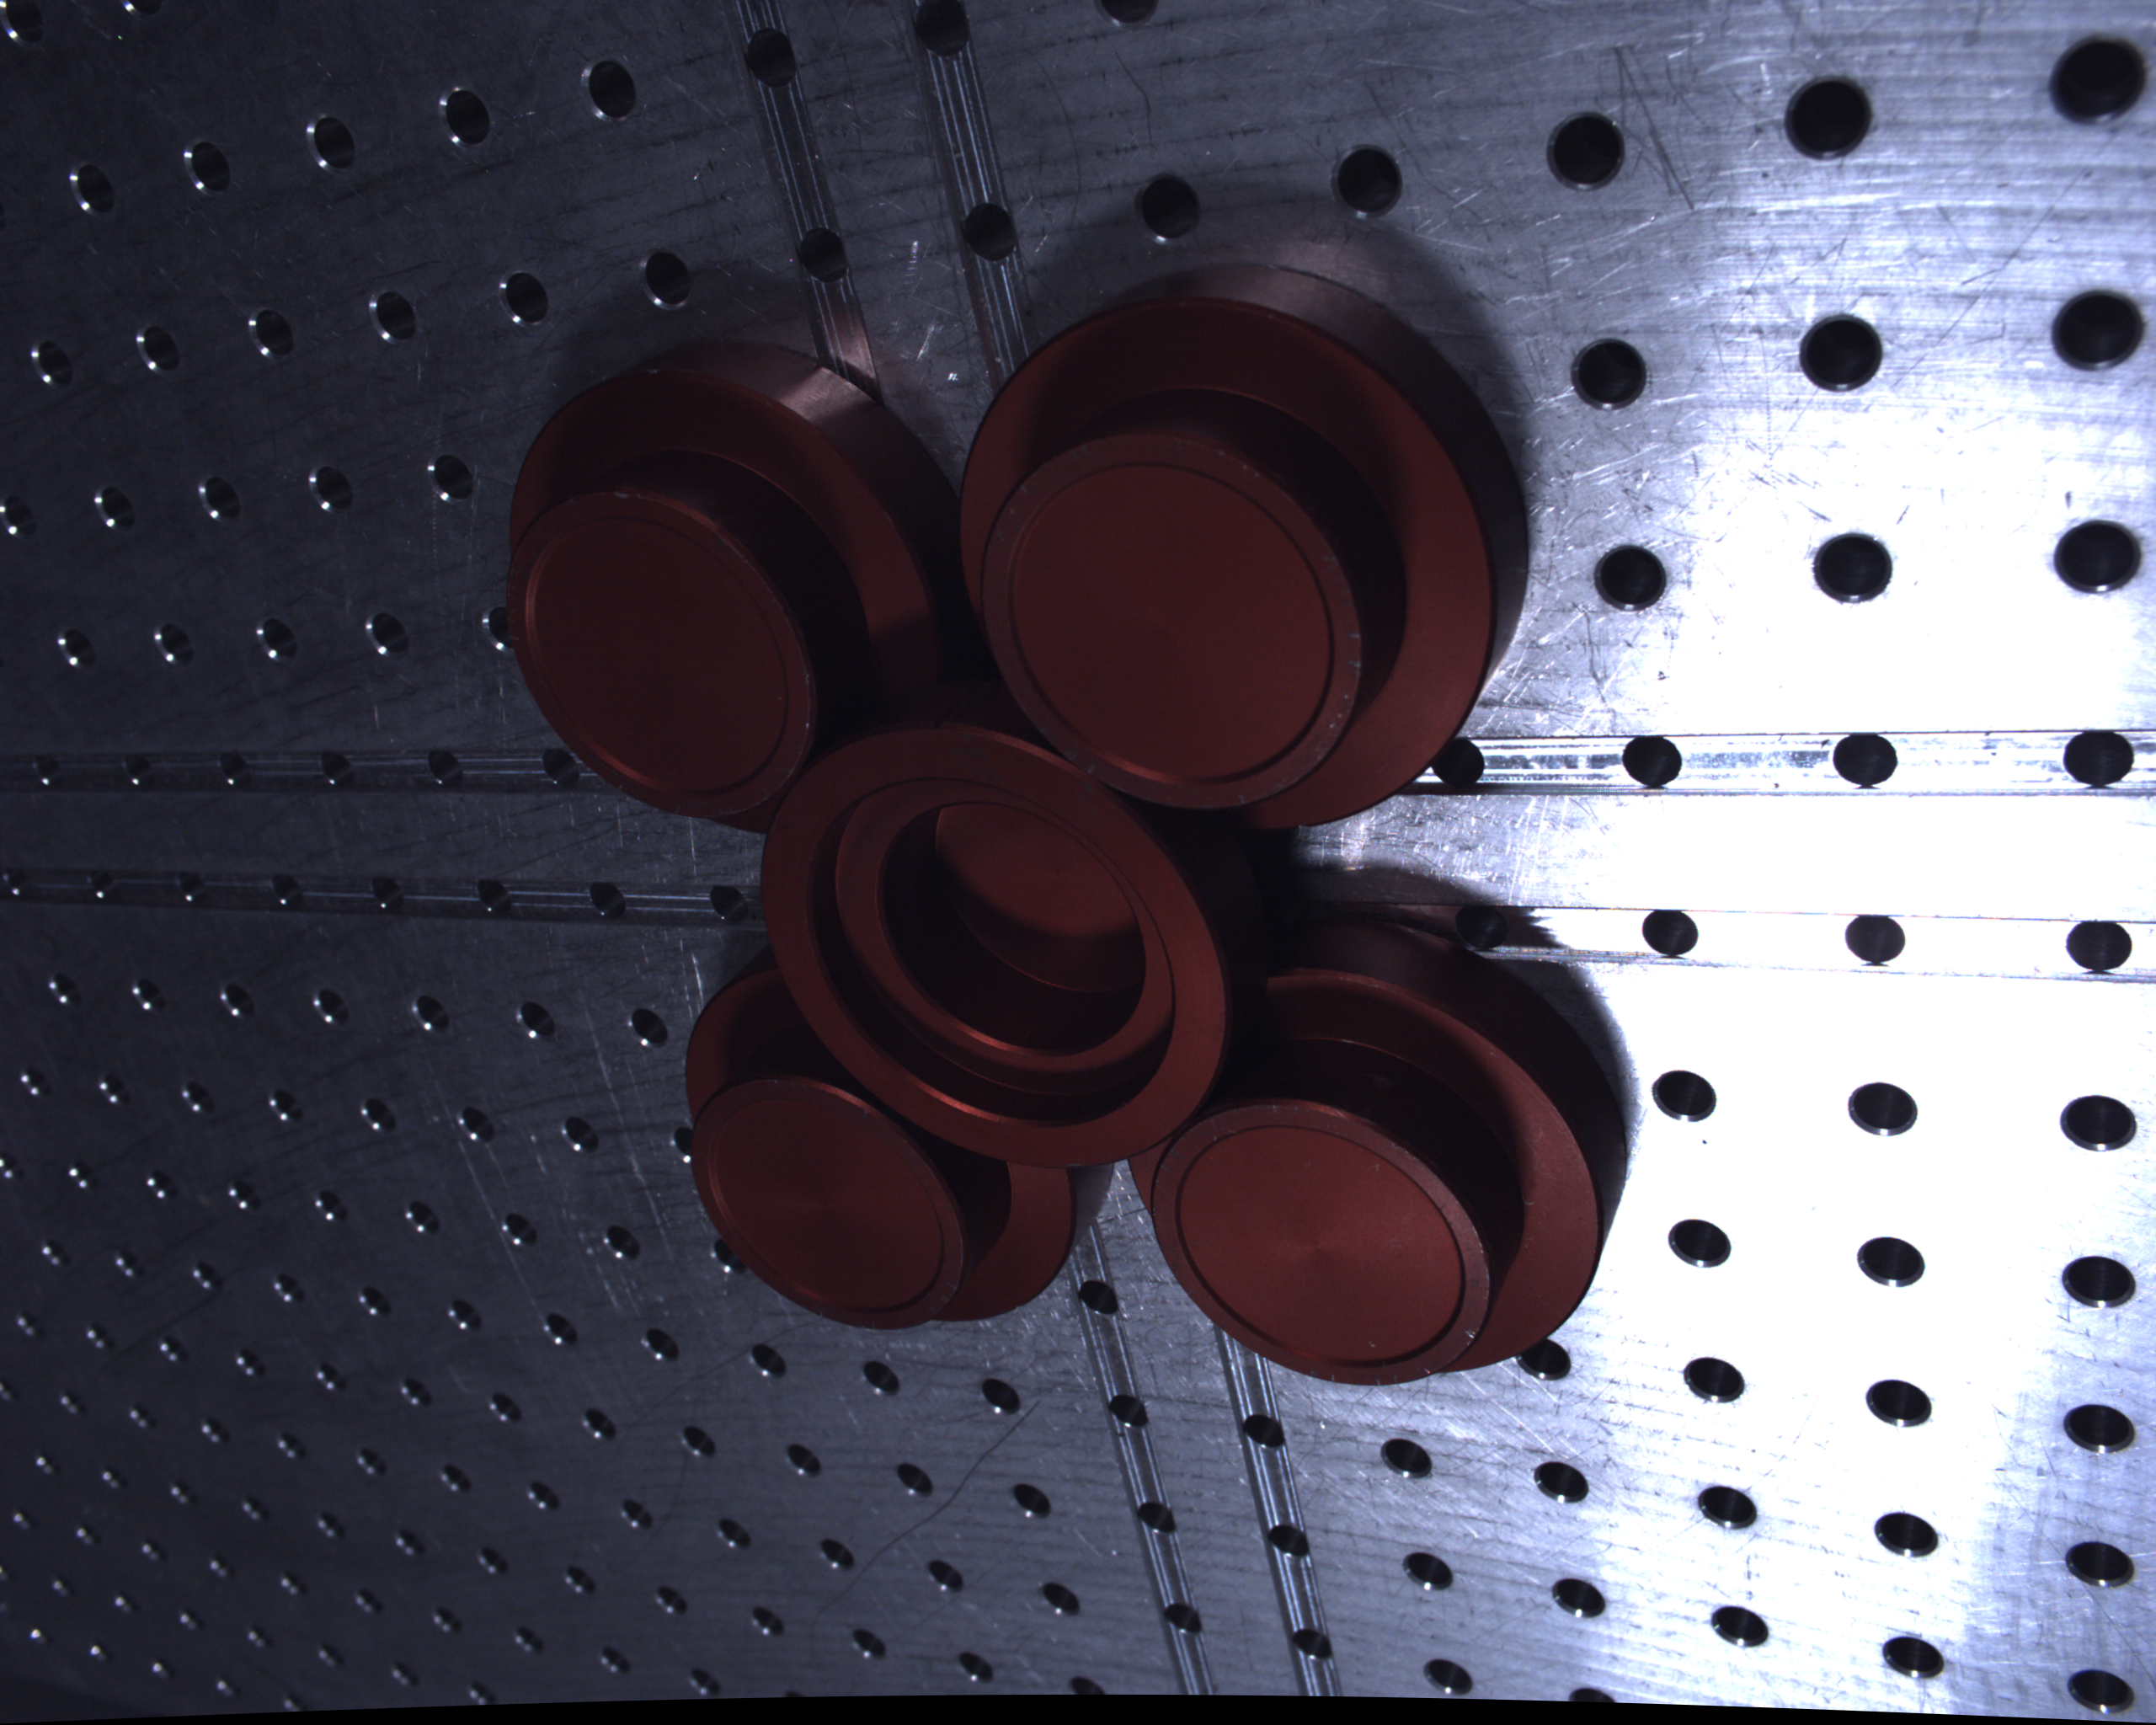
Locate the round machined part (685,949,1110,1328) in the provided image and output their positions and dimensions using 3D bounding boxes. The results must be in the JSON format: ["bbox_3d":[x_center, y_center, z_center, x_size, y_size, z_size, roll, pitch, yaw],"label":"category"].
[{"bbox_3d":[-0.046,0.064,0.462,0.098,0.042,0.097,13,124,20],"label":"round machined part"}]

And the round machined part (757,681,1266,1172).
[{"bbox_3d":[-0.009,0.009,0.407,0.098,0.042,0.097,13,124,20],"label":"round machined part"}]

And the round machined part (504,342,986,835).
[{"bbox_3d":[-0.071,-0.047,0.406,0.098,0.042,0.097,13,124,20],"label":"round machined part"}]

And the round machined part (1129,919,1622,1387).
[{"bbox_3d":[0.053,0.063,0.409,0.098,0.042,0.097,13,124,20],"label":"round machined part"}]

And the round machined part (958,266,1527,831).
[{"bbox_3d":[0.023,-0.048,0.357,0.098,0.042,0.097,13,124,20],"label":"round machined part"}]
